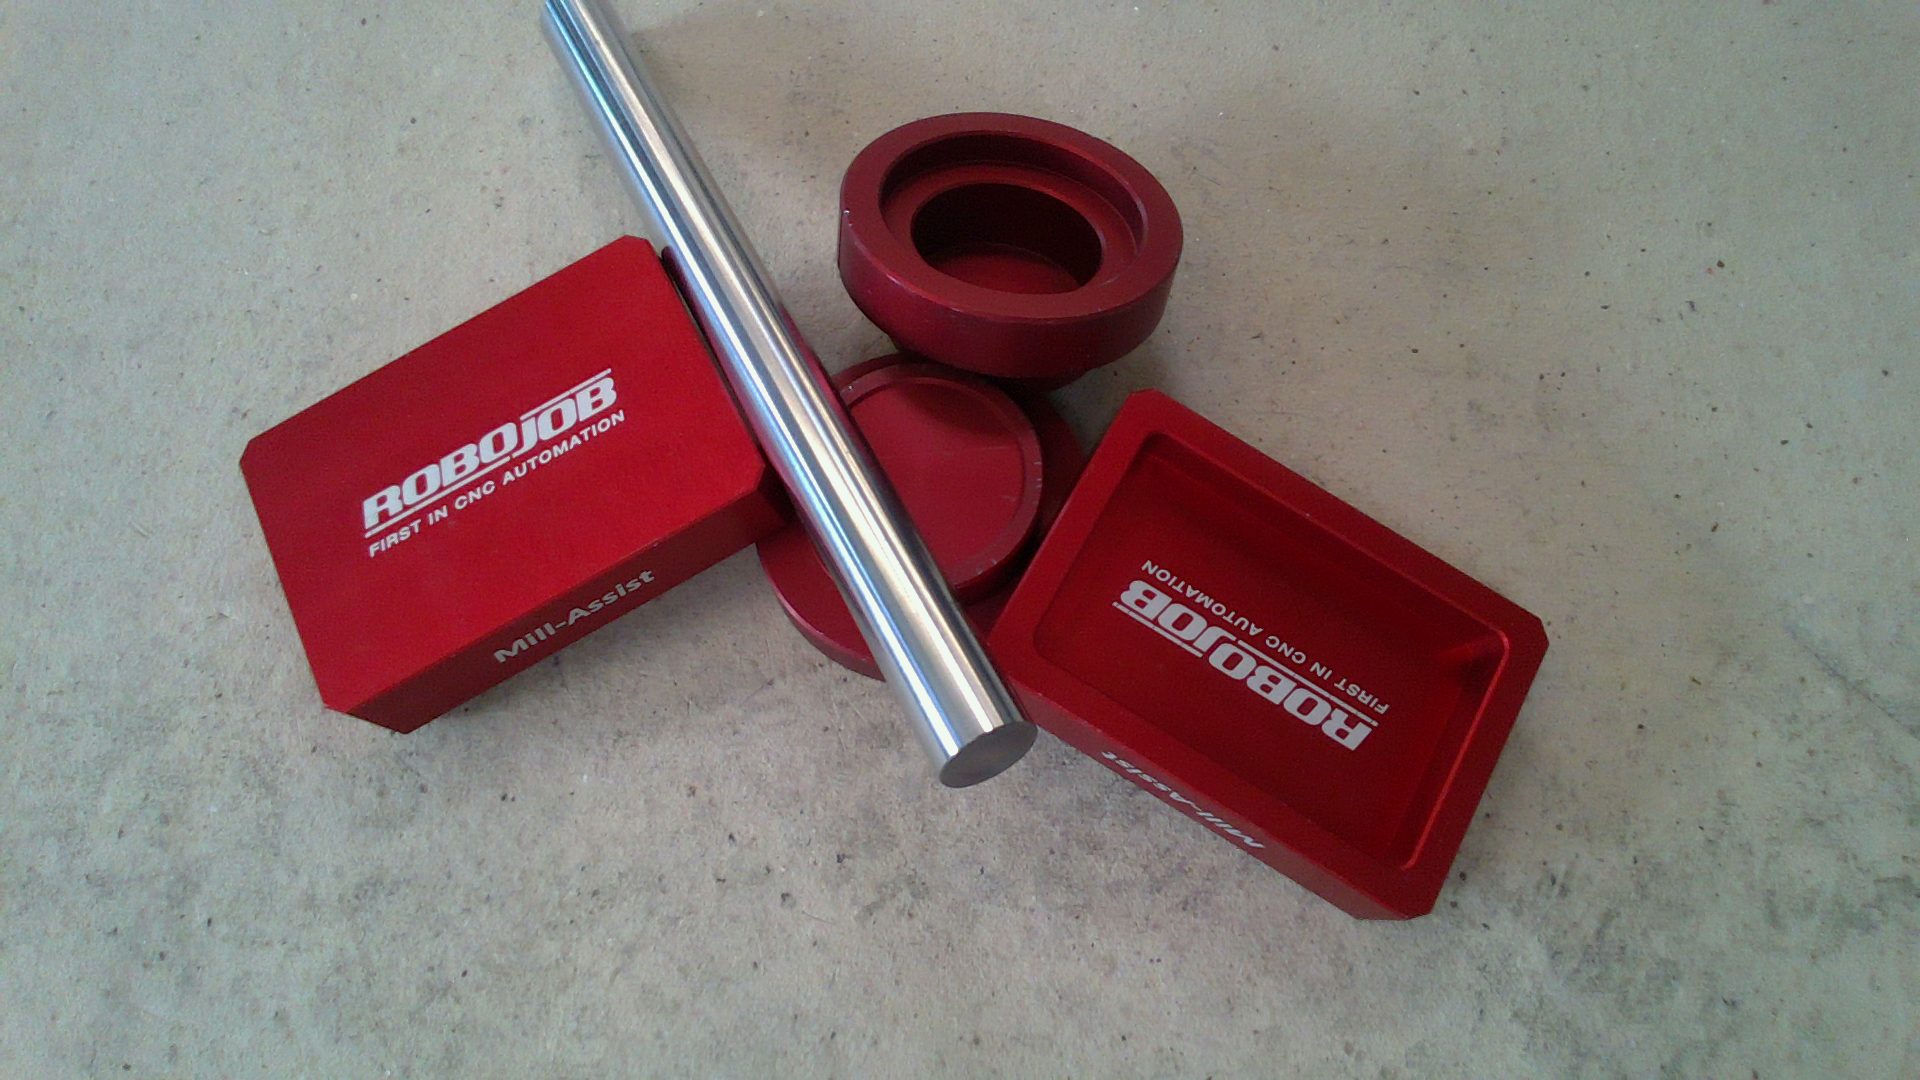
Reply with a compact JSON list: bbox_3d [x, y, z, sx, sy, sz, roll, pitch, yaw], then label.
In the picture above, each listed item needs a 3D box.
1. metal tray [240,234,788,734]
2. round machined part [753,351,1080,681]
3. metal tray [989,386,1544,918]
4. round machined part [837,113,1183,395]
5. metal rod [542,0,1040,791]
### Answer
[{"bbox_3d":[-0.125,-0.016,0.386,0.130,0.030,0.090,-29,70,-1],"label":"metal tray"},{"bbox_3d":[-0.011,-0.011,0.390,0.098,0.042,0.098,0,70,0],"label":"round machined part"},{"bbox_3d":[0.079,0.030,0.370,0.130,0.030,0.090,31,72,0],"label":"metal tray"},{"bbox_3d":[0.013,-0.080,0.404,0.098,0.042,0.098,4,48,-5],"label":"round machined part"},{"bbox_3d":[-0.060,-0.062,0.382,0.025,0.025,0.299,-26,59,-9],"label":"metal rod"}]
